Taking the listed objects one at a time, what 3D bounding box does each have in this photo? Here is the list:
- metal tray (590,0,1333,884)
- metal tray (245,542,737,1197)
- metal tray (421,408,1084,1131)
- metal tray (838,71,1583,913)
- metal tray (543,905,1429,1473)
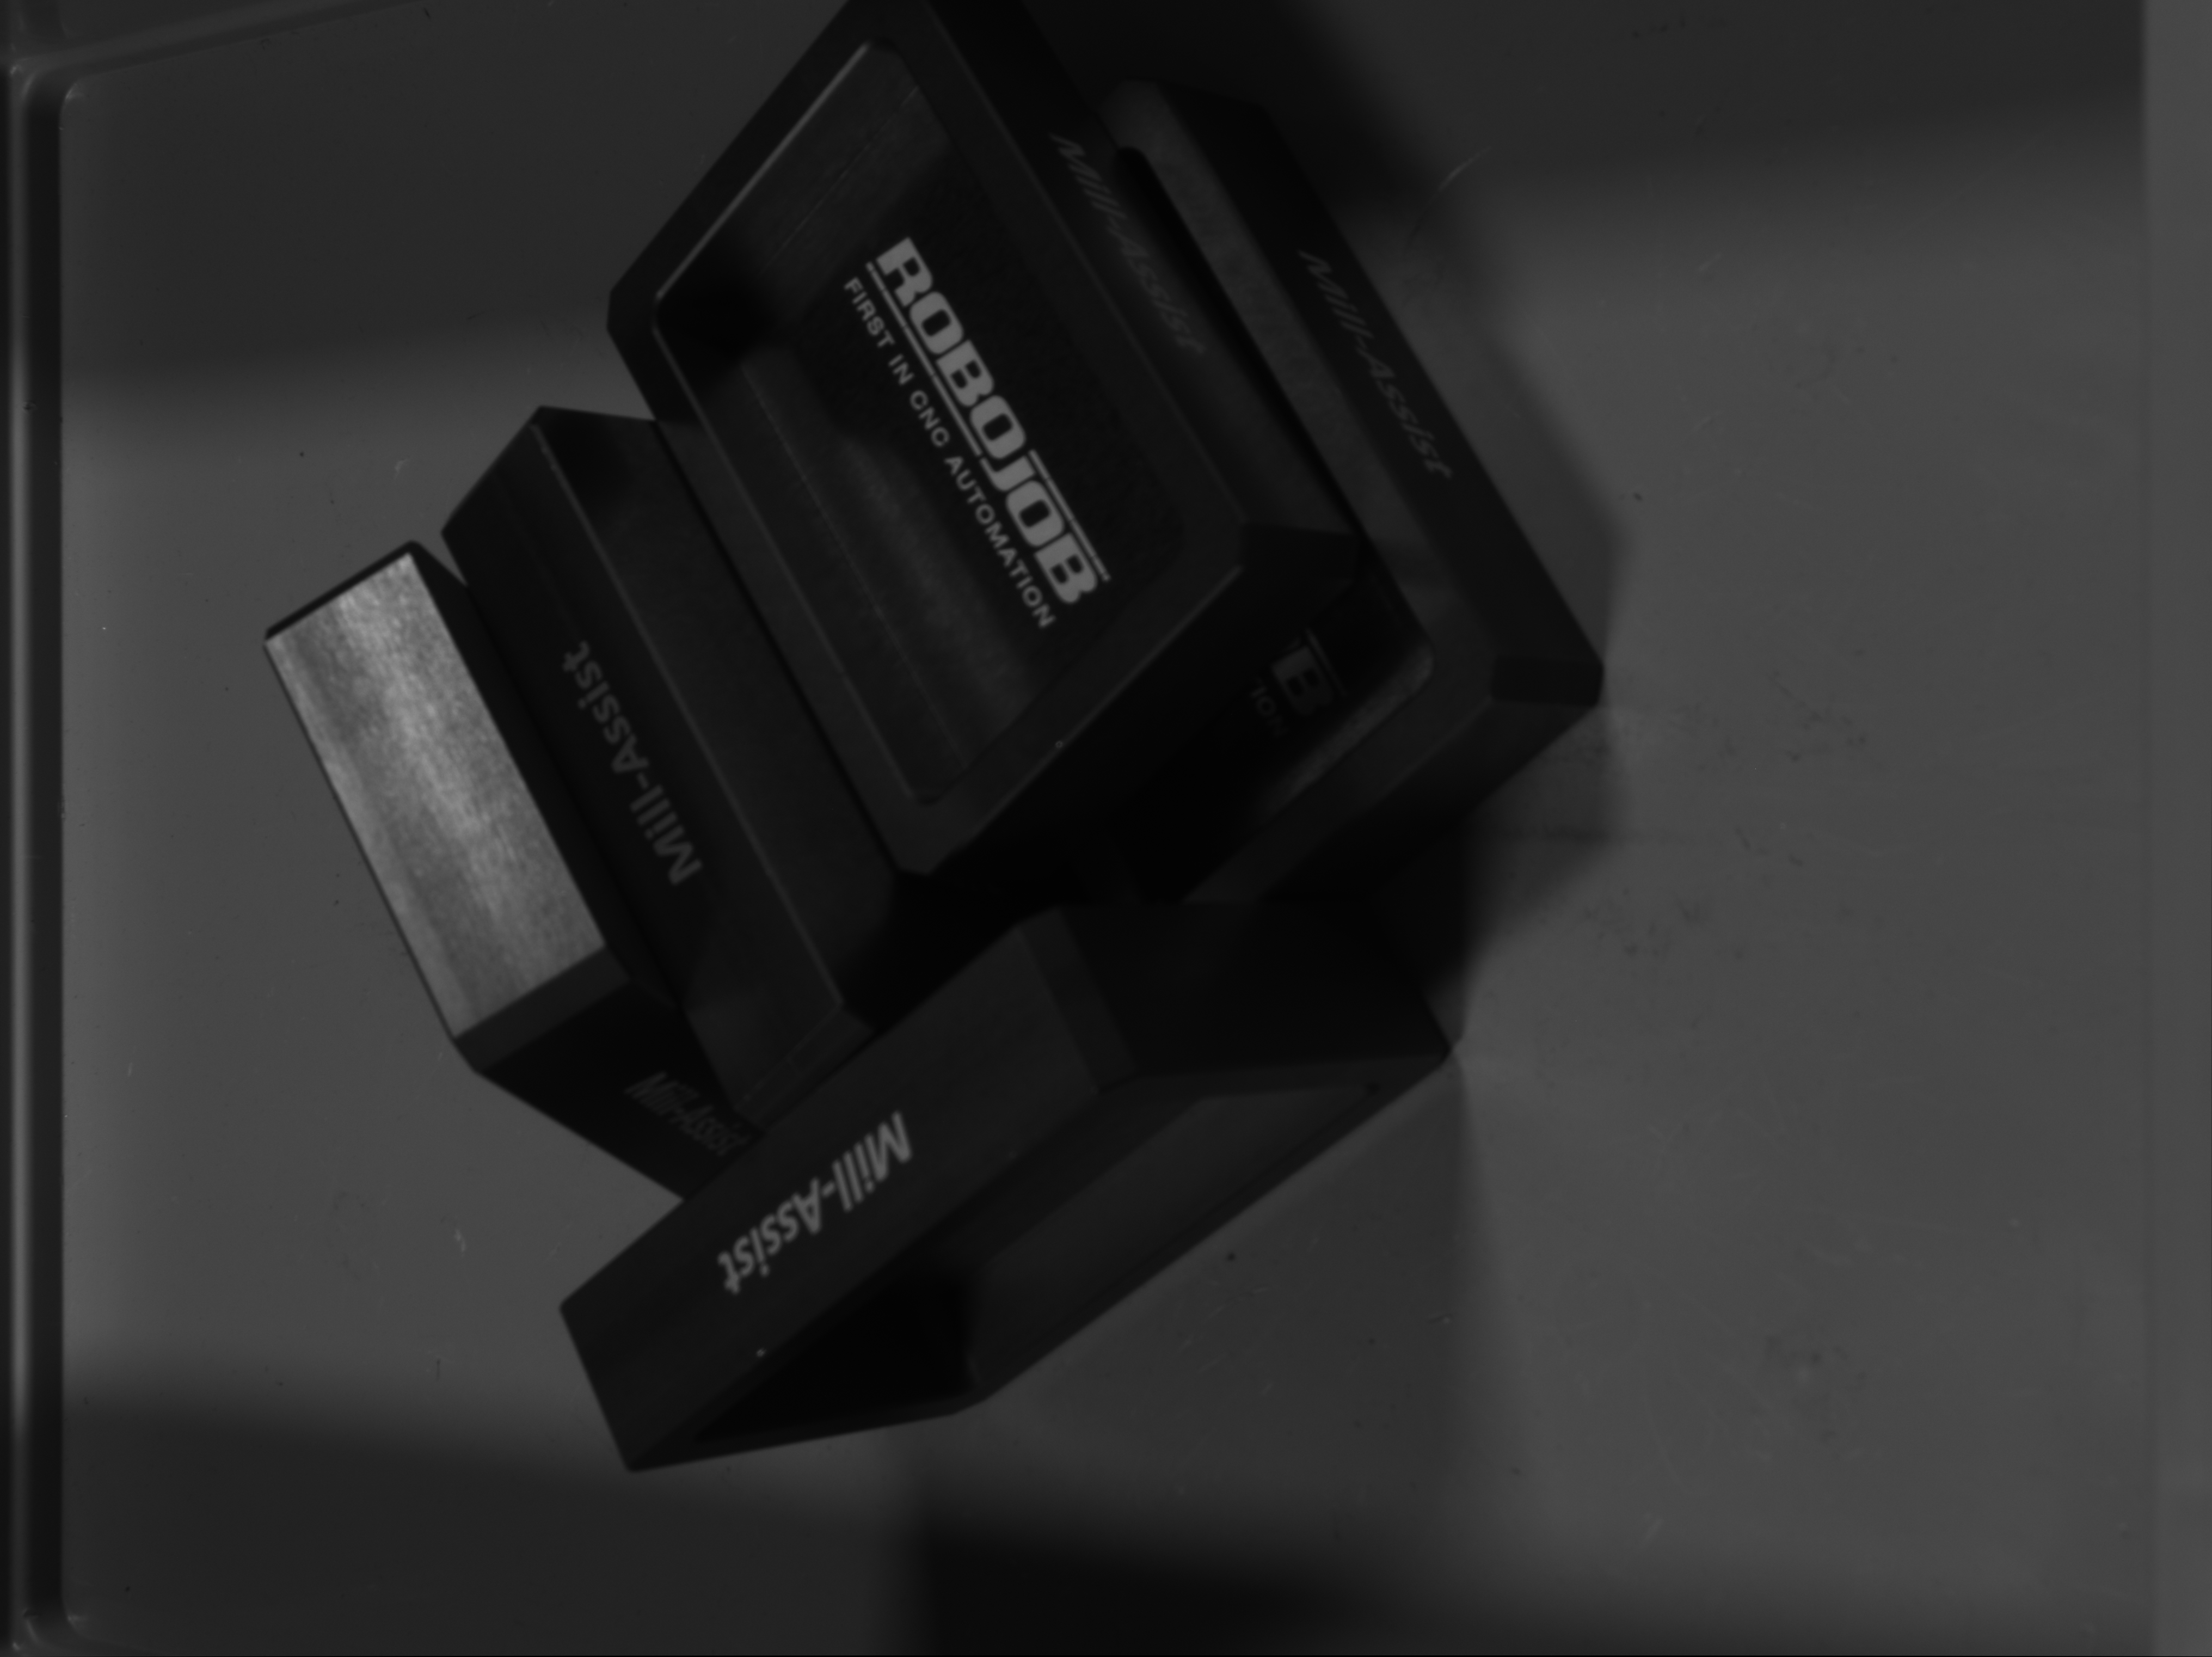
[{"bbox_3d":[-0.028,-0.067,0.615,0.090,0.030,0.130,-44,63,31],"label":"metal tray"},{"bbox_3d":[-0.096,0.014,0.647,0.030,0.130,0.090,-31,67,3],"label":"metal tray"},{"bbox_3d":[-0.053,-0.011,0.635,0.030,0.090,0.130,-44,64,30],"label":"metal tray"},{"bbox_3d":[0.014,-0.051,0.622,0.090,0.030,0.130,-42,64,33],"label":"metal tray"},{"bbox_3d":[-0.021,0.060,0.609,0.130,0.090,0.030,-40,66,32],"label":"metal tray"}]
